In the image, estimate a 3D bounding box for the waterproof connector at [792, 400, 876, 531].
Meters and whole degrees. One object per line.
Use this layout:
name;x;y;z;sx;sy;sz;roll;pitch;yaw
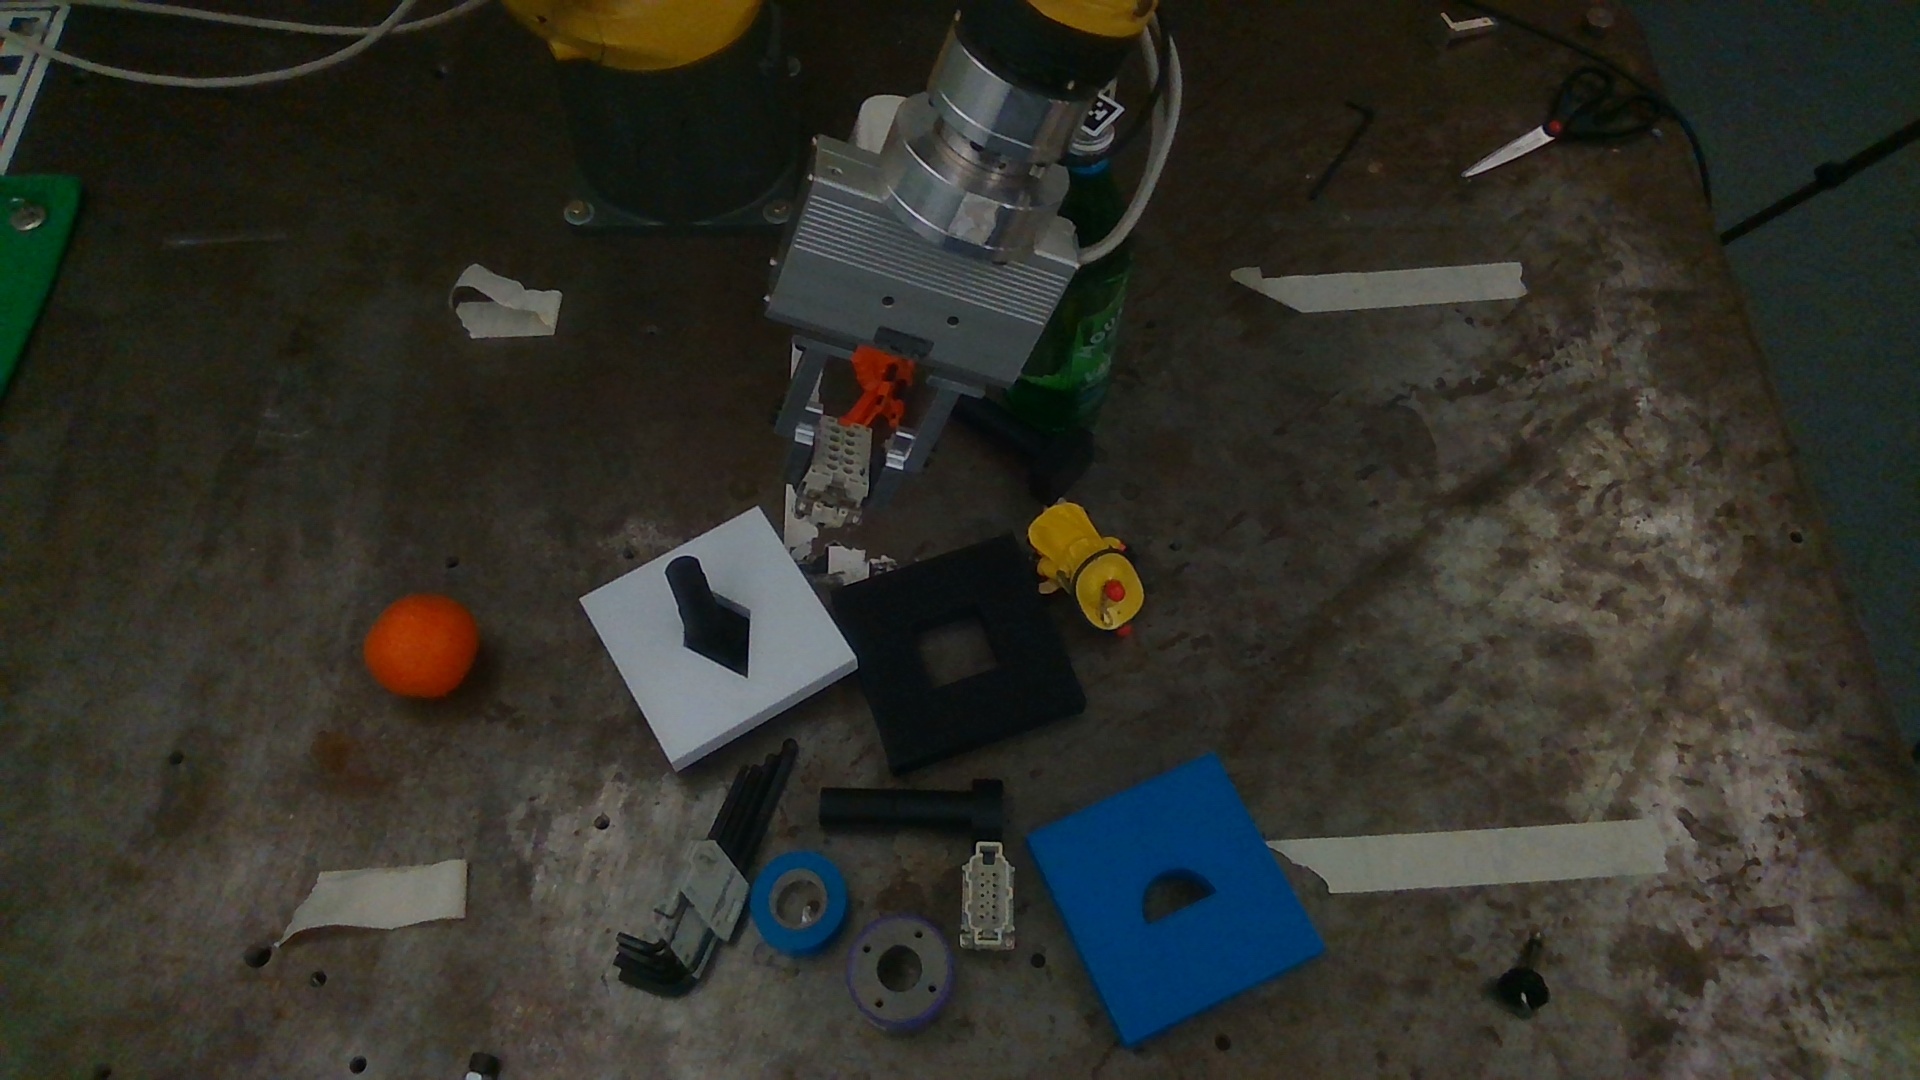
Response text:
waterproof connector;-0.066;-0.039;0.705;0.036;0.039;0.069;16;50;-20
